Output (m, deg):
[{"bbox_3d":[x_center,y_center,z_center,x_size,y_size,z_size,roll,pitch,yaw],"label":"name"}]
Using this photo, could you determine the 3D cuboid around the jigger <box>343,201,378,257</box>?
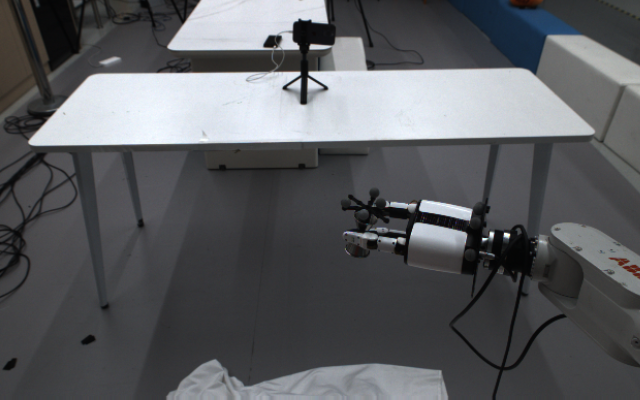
[{"bbox_3d":[0.068,0.056,0.808,0.043,0.071,0.043,9,30,-5],"label":"jigger"}]
